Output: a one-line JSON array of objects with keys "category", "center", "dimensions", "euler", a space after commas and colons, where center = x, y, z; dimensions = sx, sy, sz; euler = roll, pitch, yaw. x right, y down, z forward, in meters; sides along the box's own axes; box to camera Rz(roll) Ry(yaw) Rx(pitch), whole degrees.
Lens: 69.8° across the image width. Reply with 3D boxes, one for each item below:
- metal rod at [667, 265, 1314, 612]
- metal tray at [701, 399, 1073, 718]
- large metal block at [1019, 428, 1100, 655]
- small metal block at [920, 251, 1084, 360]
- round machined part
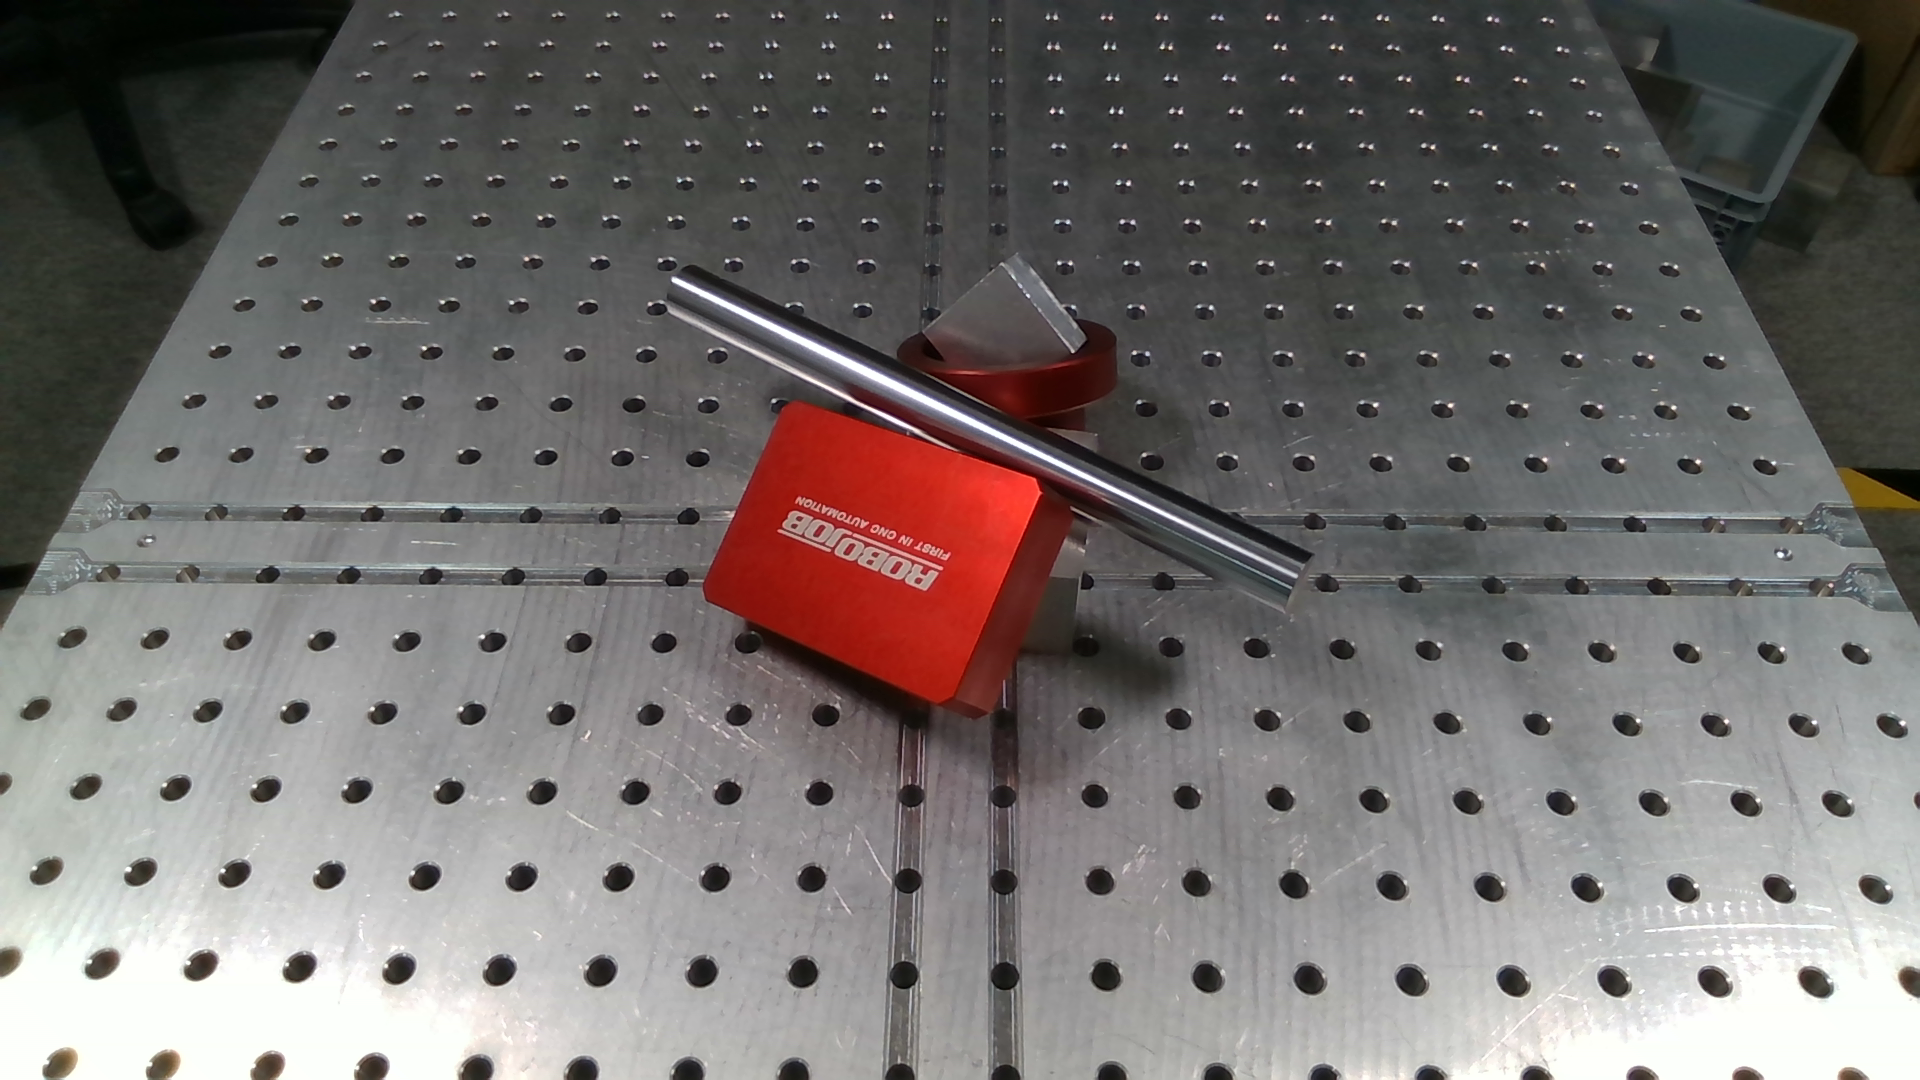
[{"category": "metal rod", "center": [0.001, -0.048, 0.564], "dimensions": [0.300, 0.025, 0.025], "euler": [27, 55, 21]}, {"category": "metal tray", "center": [-0.031, 0.005, 0.539], "dimensions": [0.130, 0.030, 0.090], "euler": [20, 84, 32]}, {"category": "large metal block", "center": [0.013, -0.004, 0.576], "dimensions": [0.080, 0.050, 0.080], "euler": [7, 50, 6]}, {"category": "small metal block", "center": [0.020, -0.092, 0.614], "dimensions": [0.050, 0.050, 0.025], "euler": [51, 30, -5]}, {"category": "round machined part", "center": [0.021, -0.070, 0.620], "dimensions": [0.098, 0.042, 0.098], "euler": [-2, 25, 1]}]
